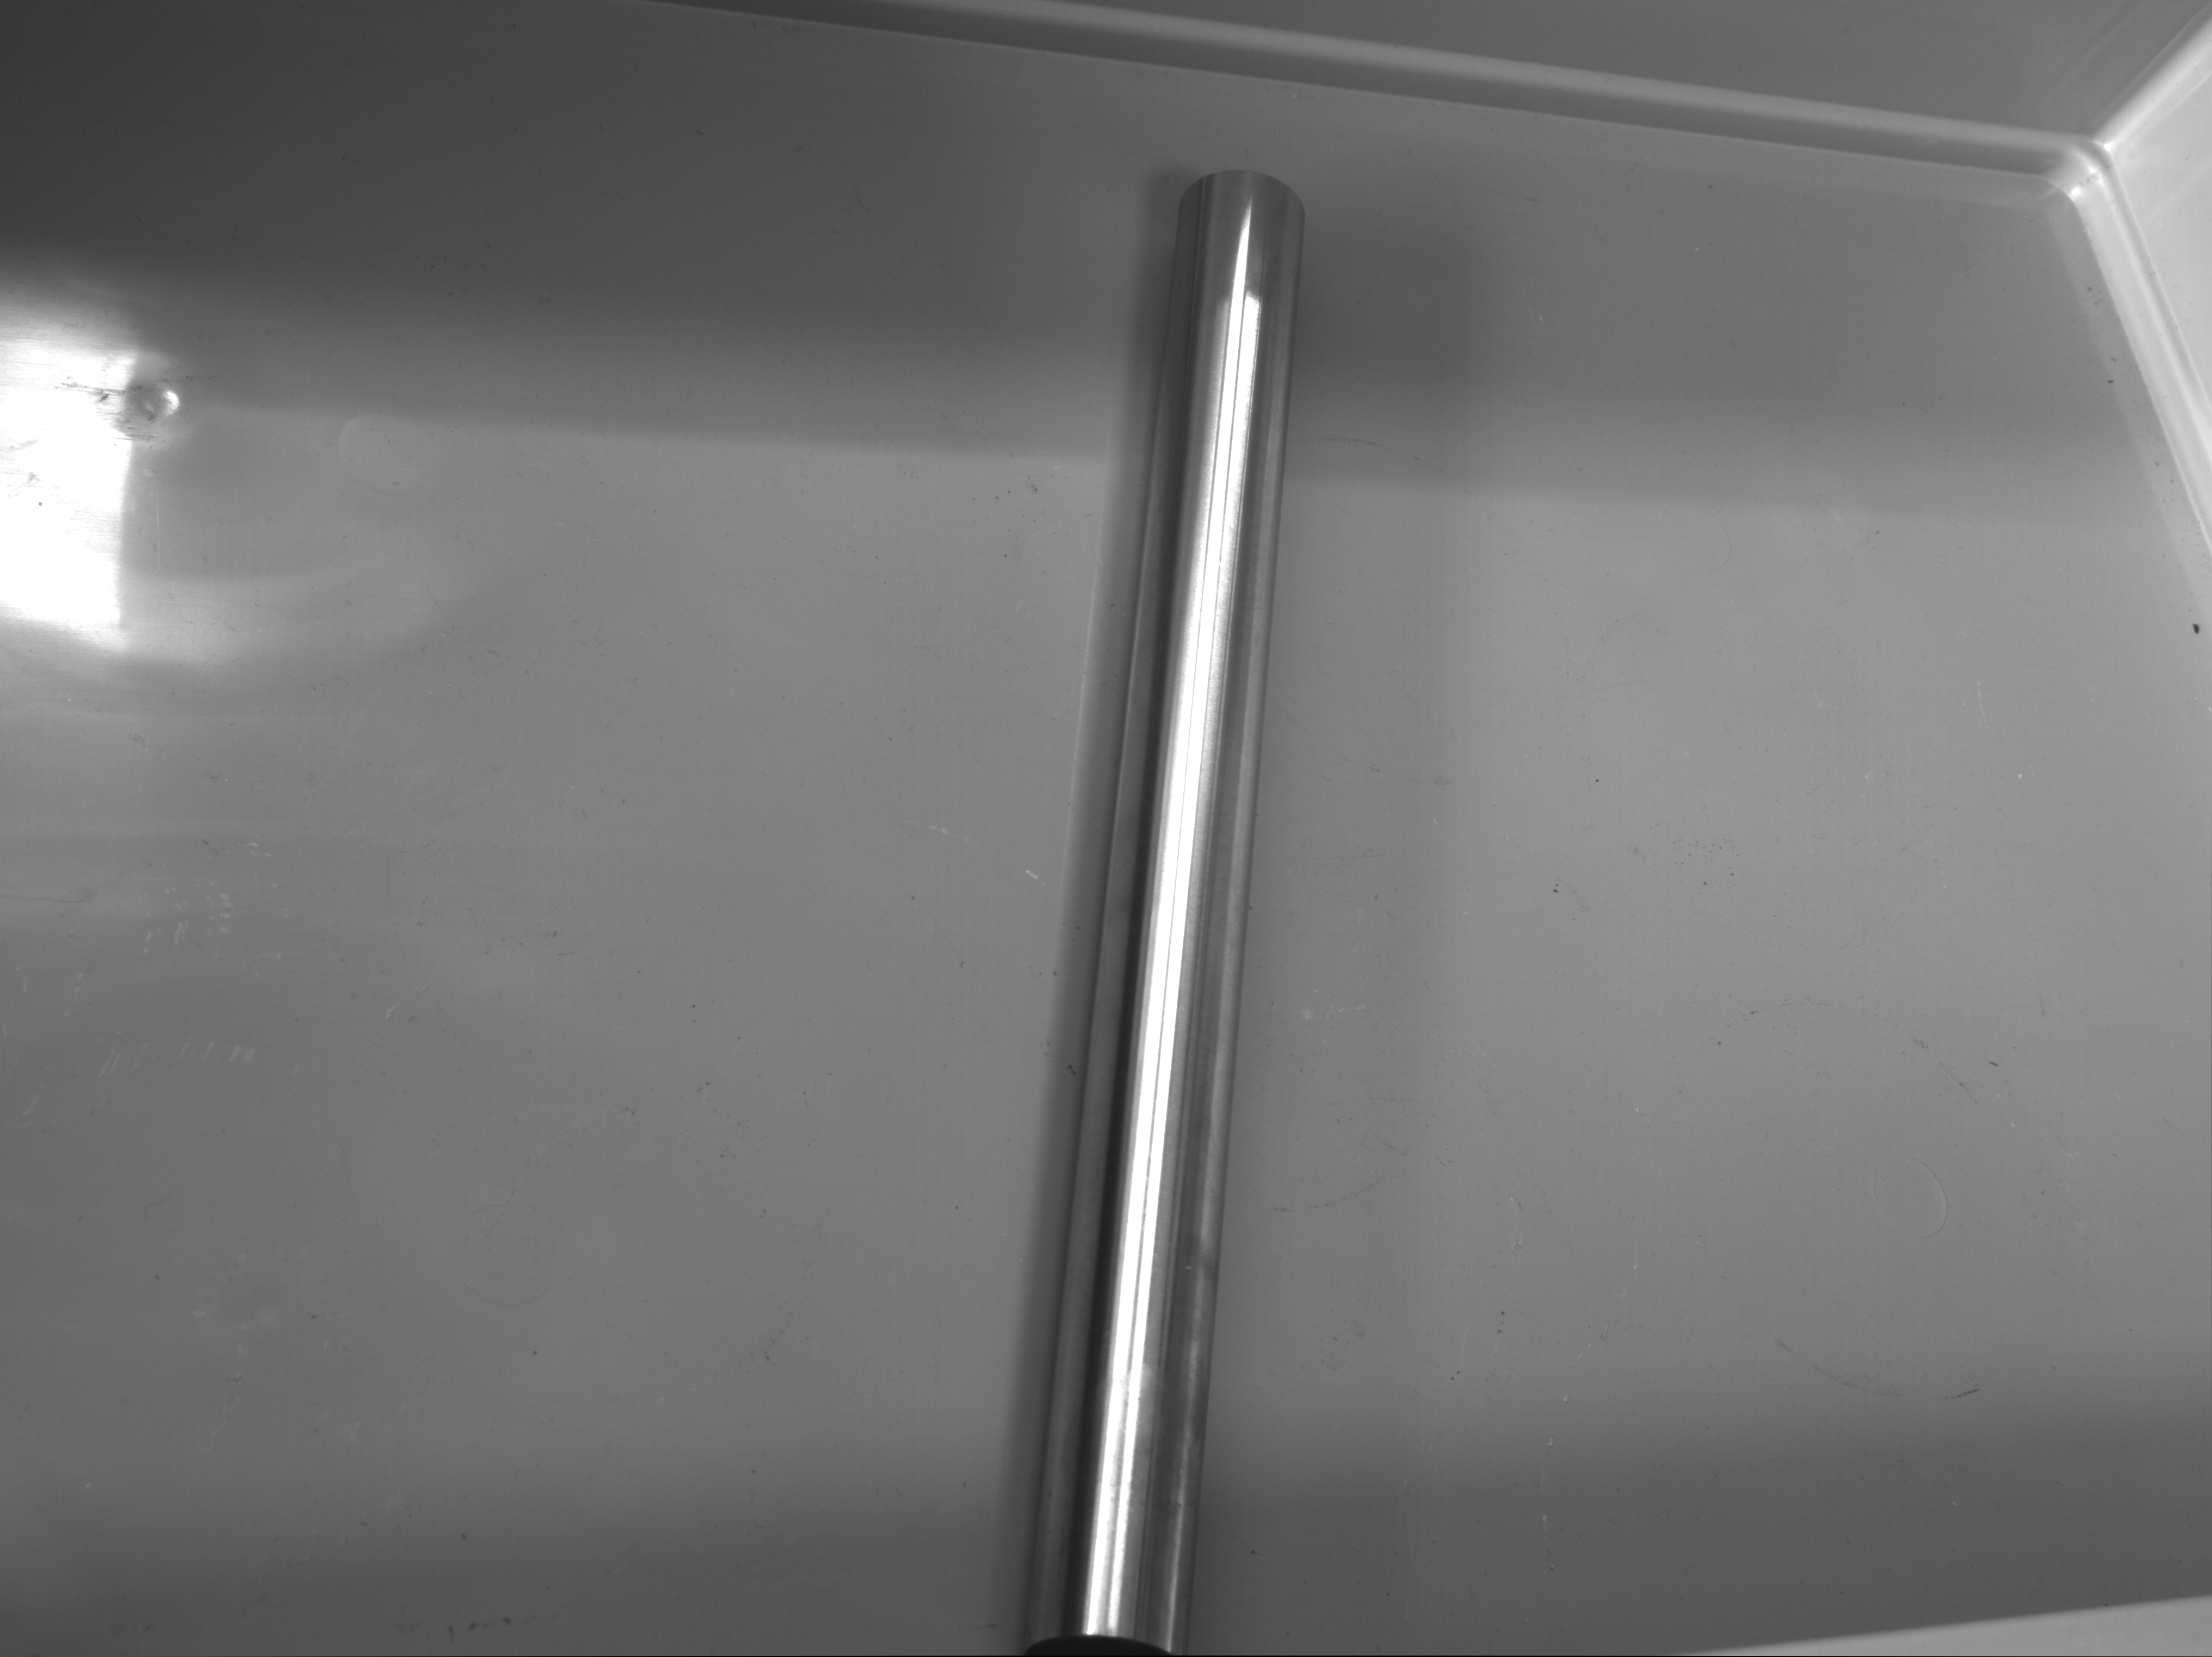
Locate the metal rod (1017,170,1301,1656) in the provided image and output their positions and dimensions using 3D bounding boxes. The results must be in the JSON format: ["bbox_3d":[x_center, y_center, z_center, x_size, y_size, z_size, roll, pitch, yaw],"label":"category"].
[{"bbox_3d":[0.012,0.003,0.642,0.025,0.025,0.300,18,55,-17],"label":"metal rod"}]
